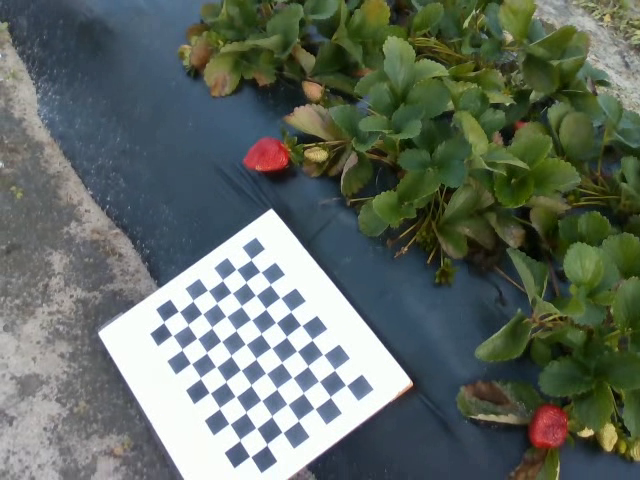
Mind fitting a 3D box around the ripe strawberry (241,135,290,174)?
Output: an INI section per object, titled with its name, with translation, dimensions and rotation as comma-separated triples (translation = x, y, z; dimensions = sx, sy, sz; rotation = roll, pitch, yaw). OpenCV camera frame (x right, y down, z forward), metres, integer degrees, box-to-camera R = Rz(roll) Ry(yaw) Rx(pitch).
[ripe strawberry]
translation = -0.082, -0.132, 0.997
dimensions = 0.074, 0.067, 0.039
rotation = -32, -27, -7
